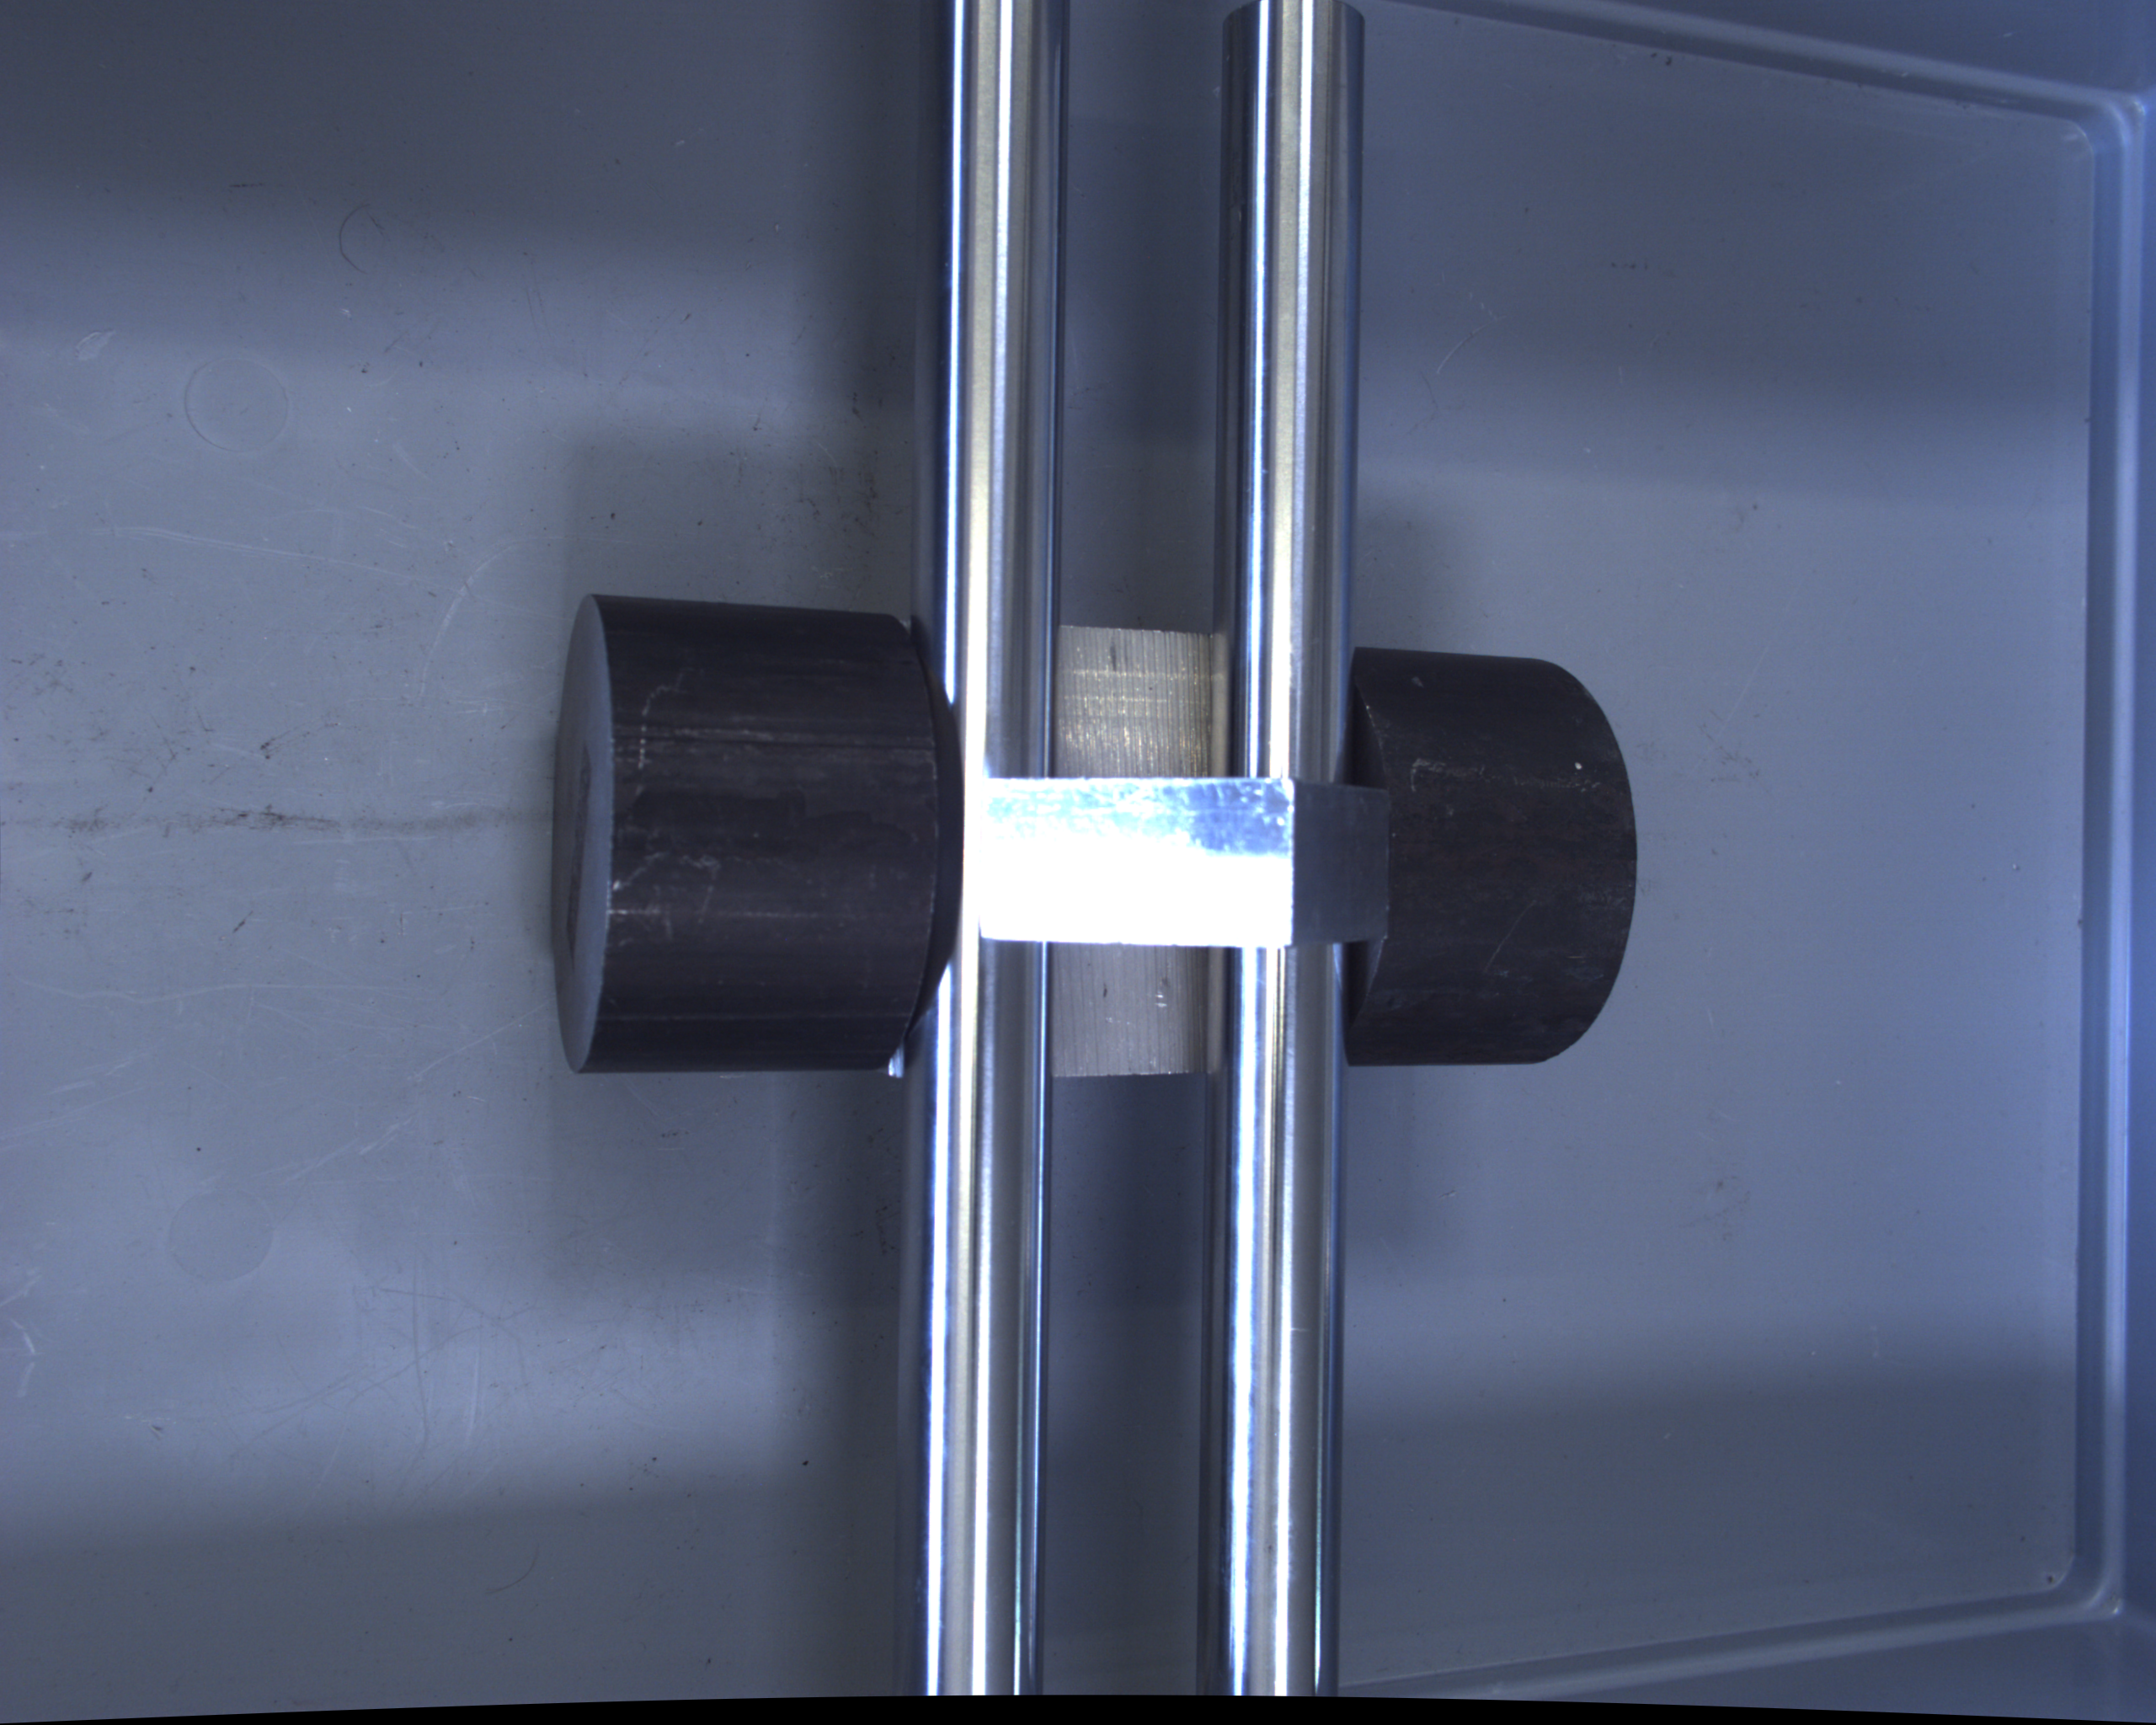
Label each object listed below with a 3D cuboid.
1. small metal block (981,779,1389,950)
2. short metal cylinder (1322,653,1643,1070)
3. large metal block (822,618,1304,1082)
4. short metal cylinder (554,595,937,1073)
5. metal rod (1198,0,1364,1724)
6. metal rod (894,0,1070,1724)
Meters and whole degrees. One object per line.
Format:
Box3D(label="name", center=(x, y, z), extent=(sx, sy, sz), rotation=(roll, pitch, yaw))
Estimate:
Box3D(label="small metal block", center=(0.018, 0.000, 0.336), extent=(0.050, 0.050, 0.025), rotation=(1, 90, 24))
Box3D(label="short metal cylinder", center=(0.064, 0.000, 0.403), extent=(0.050, 0.080, 0.079), rotation=(1, 90, -19))
Box3D(label="large metal block", center=(-0.003, -0.002, 0.394), extent=(0.081, 0.050, 0.079), rotation=(1, 90, -20))
Box3D(label="short metal cylinder", center=(-0.060, -0.004, 0.358), extent=(0.050, 0.080, 0.079), rotation=(2, 90, -20))
Box3D(label="metal rod", center=(0.036, 0.000, 0.369), extent=(0.025, 0.025, 0.298), rotation=(1, 90, -20))
Box3D(label="metal rod", center=(-0.016, 0.002, 0.350), extent=(0.025, 0.025, 0.298), rotation=(1, 90, -20))
